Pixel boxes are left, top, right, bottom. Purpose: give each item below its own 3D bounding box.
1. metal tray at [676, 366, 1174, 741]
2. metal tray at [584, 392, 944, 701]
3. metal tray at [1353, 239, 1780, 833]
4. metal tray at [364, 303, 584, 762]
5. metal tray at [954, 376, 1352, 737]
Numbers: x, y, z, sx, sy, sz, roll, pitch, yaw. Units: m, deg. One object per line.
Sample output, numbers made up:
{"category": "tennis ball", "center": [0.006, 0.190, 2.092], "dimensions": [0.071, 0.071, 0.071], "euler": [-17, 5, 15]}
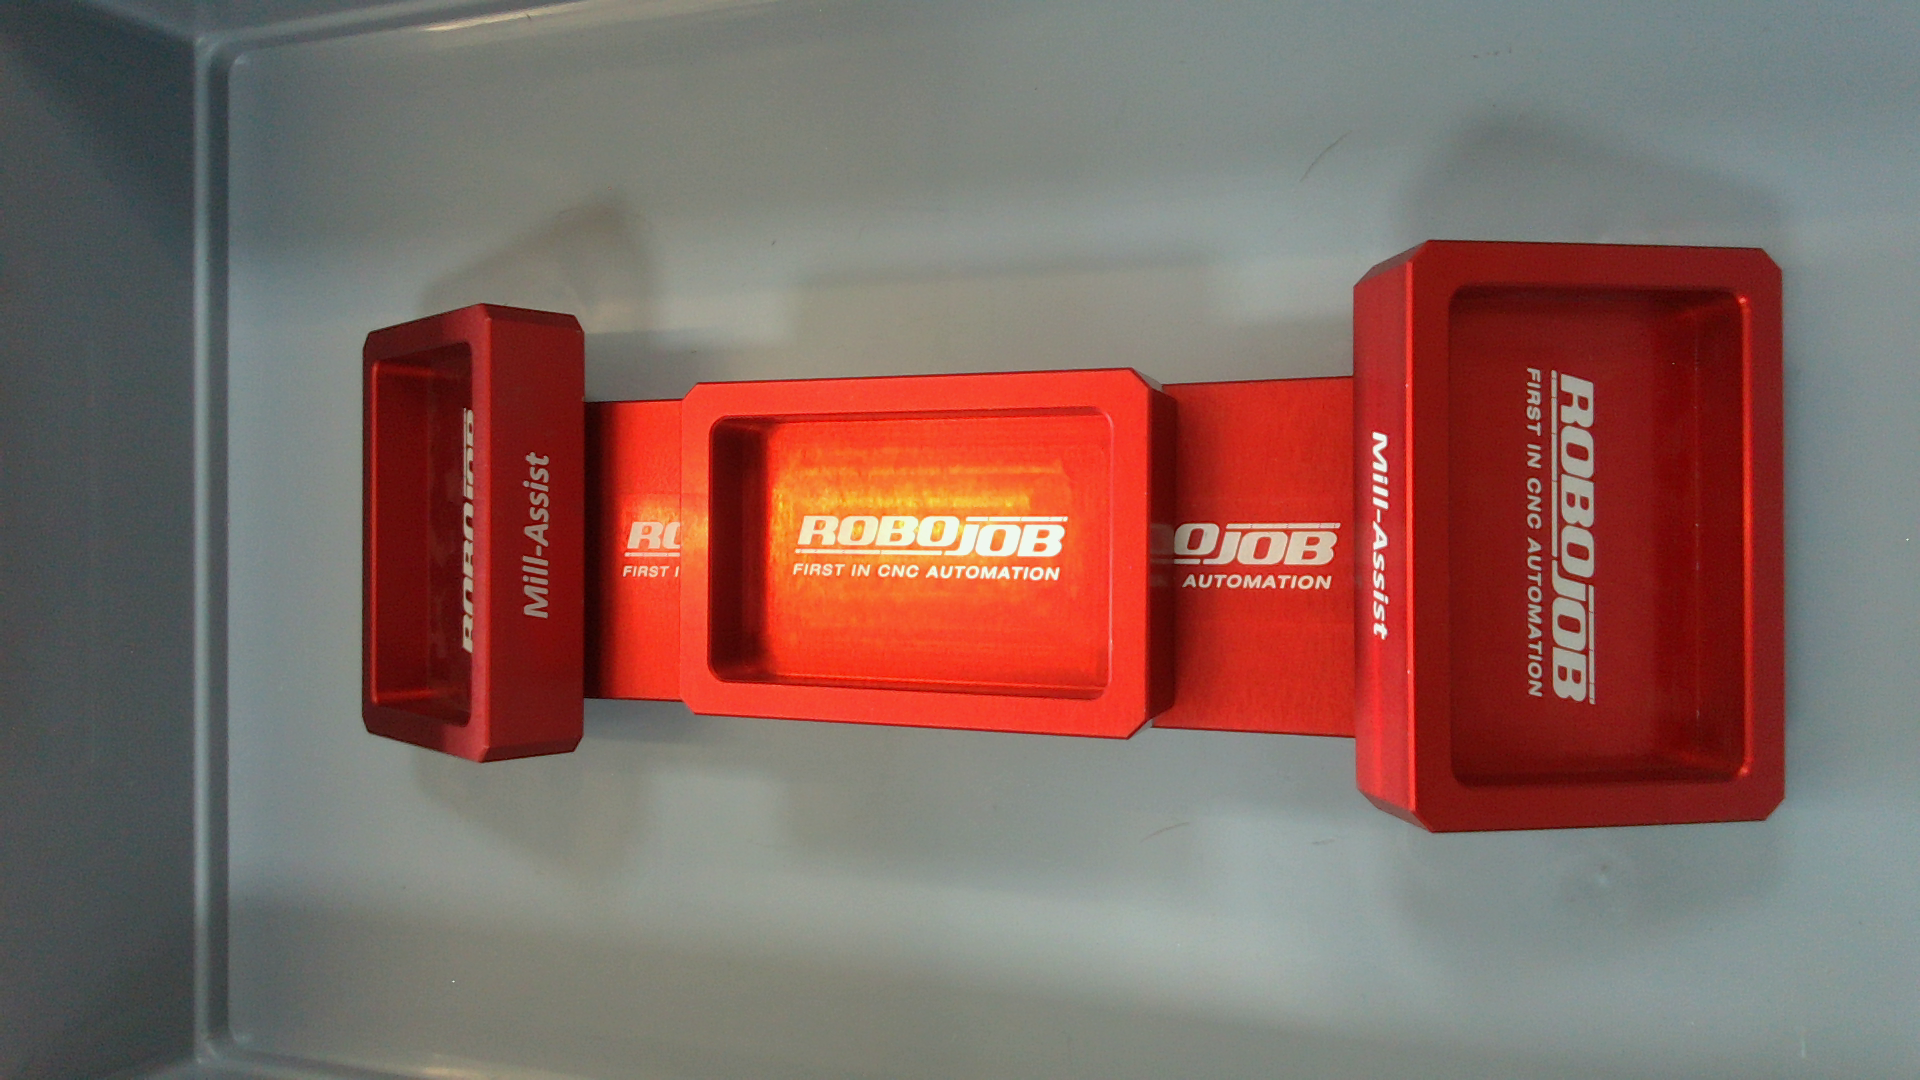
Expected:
{"category": "metal tray", "center": [-0.011, 0.003, 0.364], "dimensions": [0.130, 0.030, 0.090], "euler": [1, 90, 20]}
{"category": "metal tray", "center": [-0.060, 0.003, 0.414], "dimensions": [0.130, 0.030, 0.090], "euler": [0, 90, 20]}
{"category": "metal tray", "center": [0.140, -0.001, 0.321], "dimensions": [0.090, 0.030, 0.130], "euler": [0, 90, -8]}
{"category": "metal tray", "center": [-0.153, -0.002, 0.428], "dimensions": [0.090, 0.030, 0.130], "euler": [1, 90, 46]}
{"category": "metal tray", "center": [0.062, 0.004, 0.370], "dimensions": [0.130, 0.030, 0.090], "euler": [0, 90, 20]}
